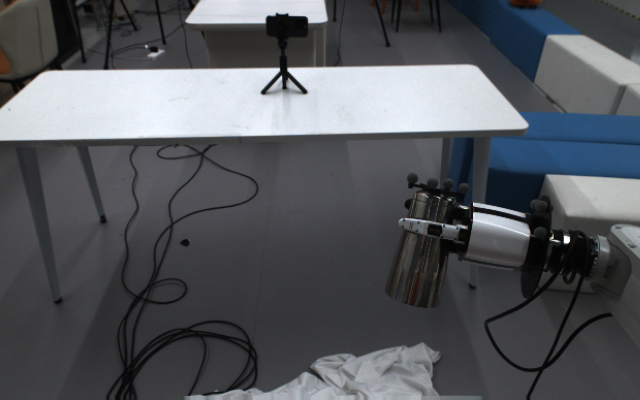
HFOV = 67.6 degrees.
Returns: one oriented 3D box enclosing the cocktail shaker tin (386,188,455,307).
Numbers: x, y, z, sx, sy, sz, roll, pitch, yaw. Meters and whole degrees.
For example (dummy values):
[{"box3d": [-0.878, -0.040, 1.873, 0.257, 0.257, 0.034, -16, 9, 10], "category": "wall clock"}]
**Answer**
[{"box3d": [0.169, 0.071, 0.775, 0.093, 0.170, 0.093, 10, 9, -2], "category": "cocktail shaker tin"}]
